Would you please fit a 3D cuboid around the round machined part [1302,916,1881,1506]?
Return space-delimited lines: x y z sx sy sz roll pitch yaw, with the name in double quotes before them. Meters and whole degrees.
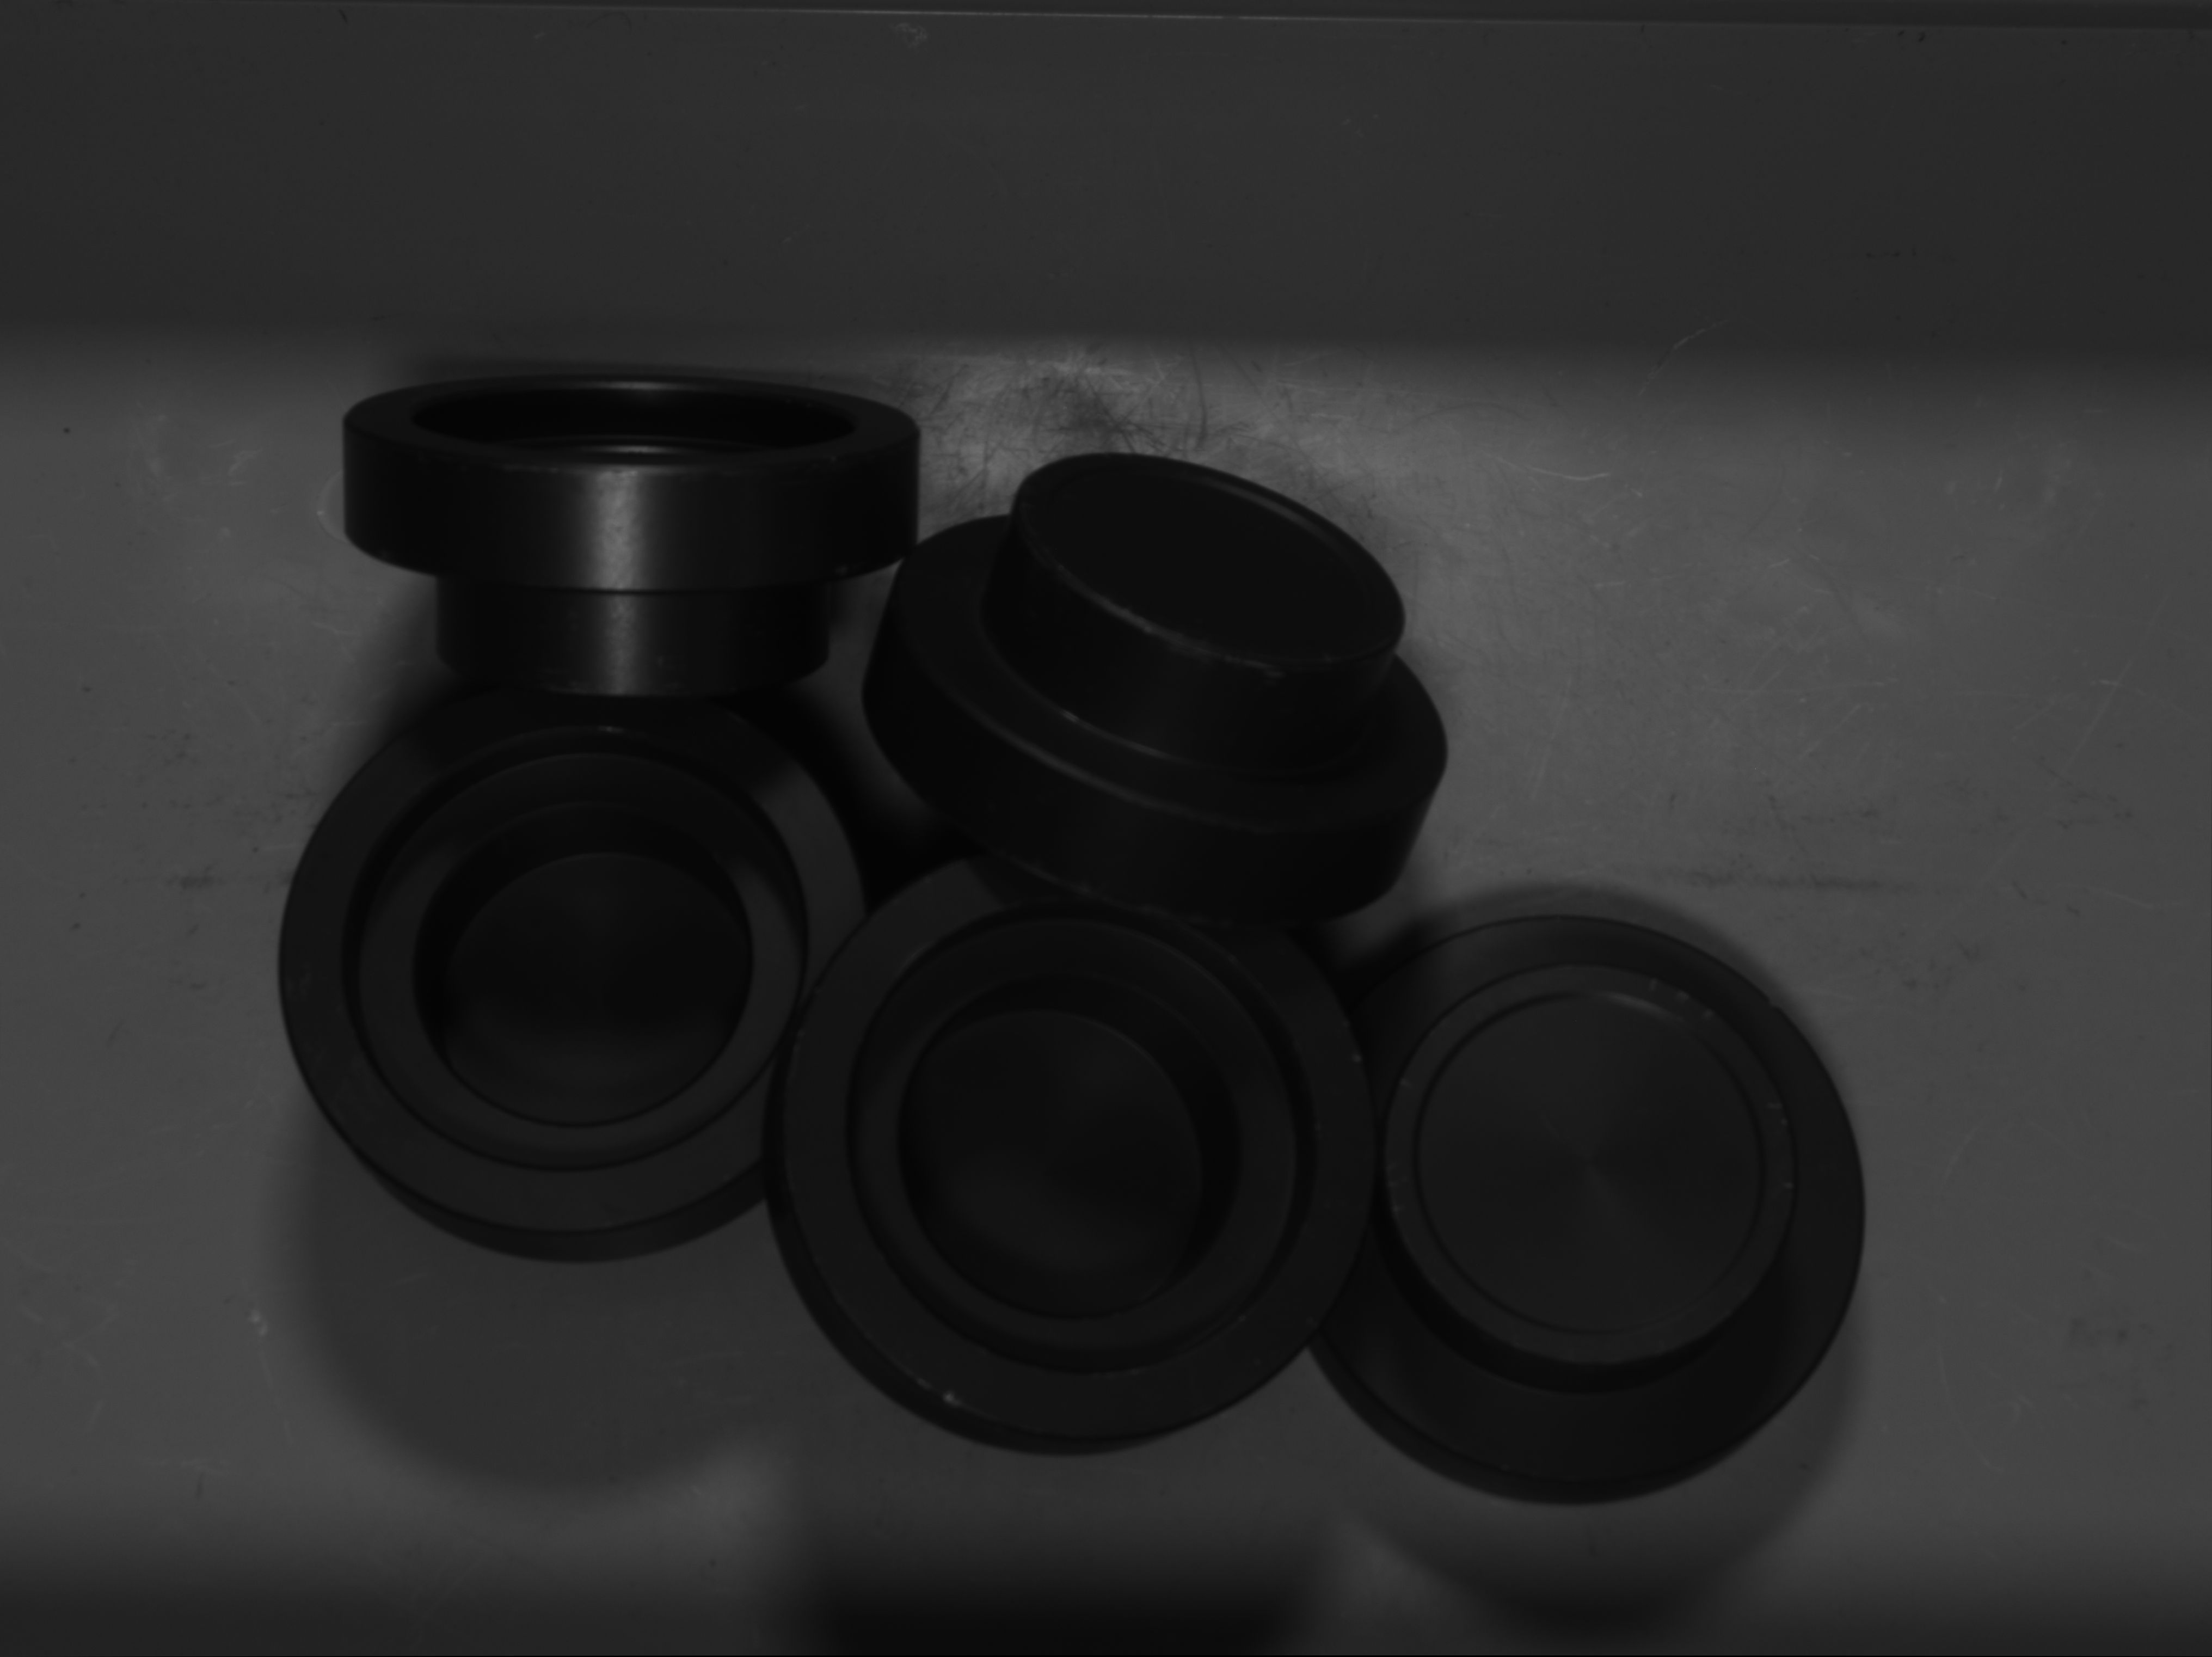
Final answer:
"round machined part" 0.081 0.061 0.612 0.098 0.042 0.098 0 70 0

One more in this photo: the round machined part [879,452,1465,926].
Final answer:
"round machined part" 0.014 -0.029 0.616 0.098 0.042 0.098 14 29 -8

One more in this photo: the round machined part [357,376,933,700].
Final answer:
"round machined part" -0.079 -0.050 0.634 0.098 0.098 0.042 3 105 1

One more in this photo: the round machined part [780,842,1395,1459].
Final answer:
"round machined part" -0.005 0.054 0.602 0.098 0.042 0.098 3 75 -13

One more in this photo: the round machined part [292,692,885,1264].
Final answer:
"round machined part" -0.085 0.026 0.624 0.098 0.042 0.098 0 70 0
